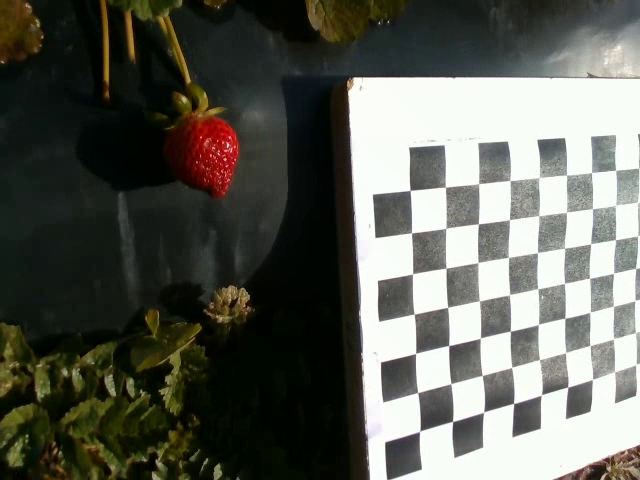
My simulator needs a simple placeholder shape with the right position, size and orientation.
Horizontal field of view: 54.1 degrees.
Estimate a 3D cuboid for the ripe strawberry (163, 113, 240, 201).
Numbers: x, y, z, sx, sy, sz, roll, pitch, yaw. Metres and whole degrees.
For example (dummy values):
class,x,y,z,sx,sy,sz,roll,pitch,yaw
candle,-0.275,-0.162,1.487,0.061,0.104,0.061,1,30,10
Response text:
class,x,y,z,sx,sy,sz,roll,pitch,yaw
ripe strawberry,-0.051,-0.035,0.276,0.040,0.044,0.036,-28,6,-20
